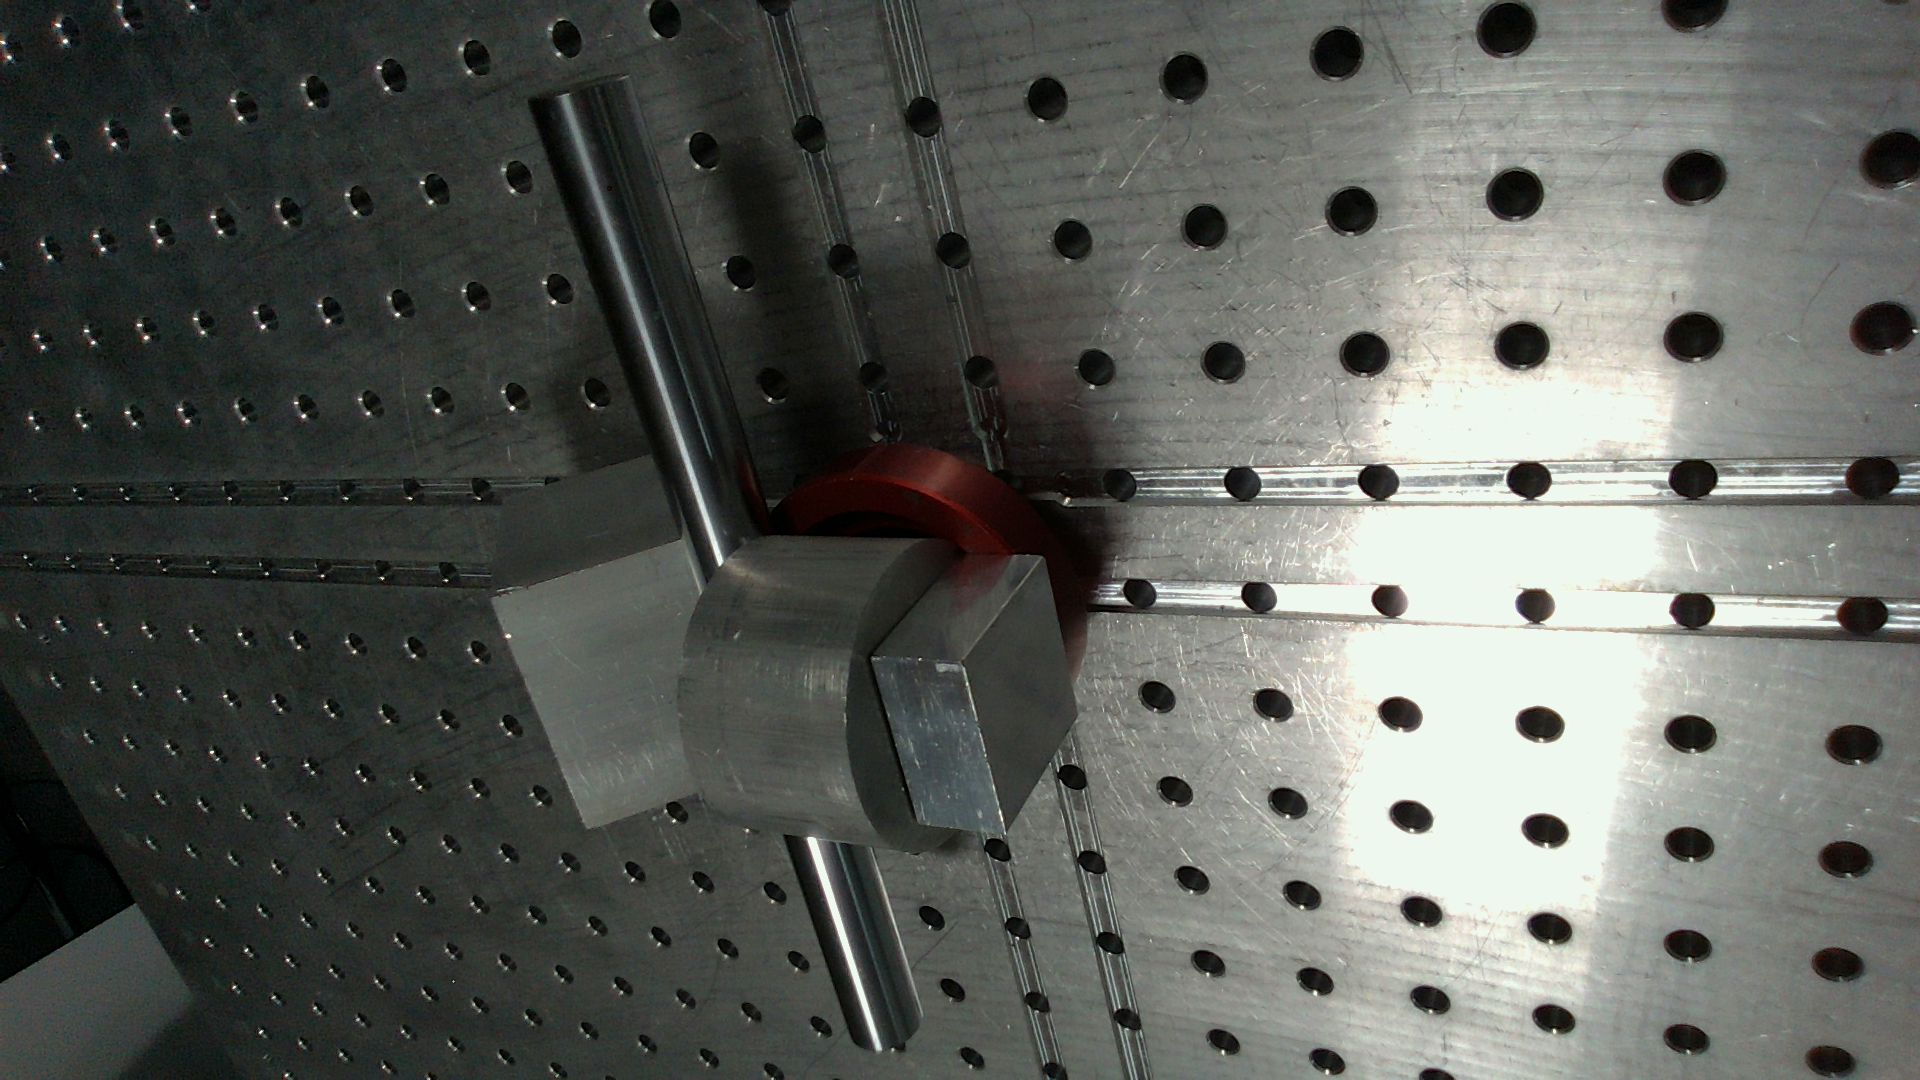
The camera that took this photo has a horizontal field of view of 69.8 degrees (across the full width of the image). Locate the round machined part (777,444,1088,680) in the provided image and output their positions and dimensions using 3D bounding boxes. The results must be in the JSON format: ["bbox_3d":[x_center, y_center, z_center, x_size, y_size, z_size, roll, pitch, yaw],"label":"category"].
[{"bbox_3d":[-0.009,0.016,0.398,0.098,0.042,0.098,13,124,21],"label":"round machined part"}]

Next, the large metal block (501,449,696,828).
[{"bbox_3d":[-0.101,0.026,0.423,0.050,0.080,0.080,-18,116,-9],"label":"large metal block"}]

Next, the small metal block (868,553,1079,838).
[{"bbox_3d":[0.005,0.038,0.345,0.025,0.050,0.050,1,119,28],"label":"small metal block"}]

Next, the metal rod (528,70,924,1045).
[{"bbox_3d":[-0.057,0.024,0.388,0.025,0.025,0.300,1,119,28],"label":"metal rod"}]

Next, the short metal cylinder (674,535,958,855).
[{"bbox_3d":[-0.029,0.039,0.361,0.050,0.080,0.080,1,119,28],"label":"short metal cylinder"}]
